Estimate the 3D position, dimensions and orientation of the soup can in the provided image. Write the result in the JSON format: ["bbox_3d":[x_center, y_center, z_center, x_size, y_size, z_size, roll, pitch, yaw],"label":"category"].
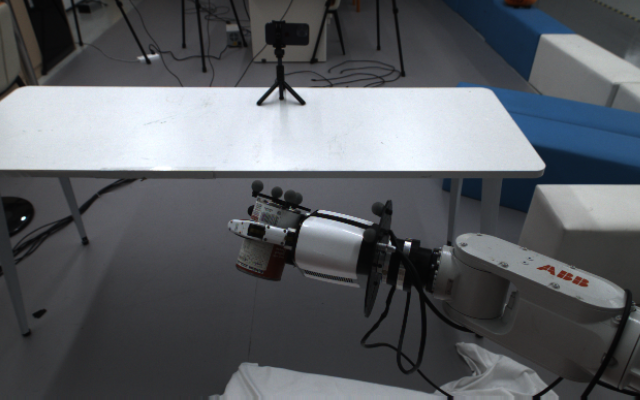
[{"bbox_3d":[-0.071,0.056,0.678,0.067,0.101,0.067,17,-1,0],"label":"soup can"}]
